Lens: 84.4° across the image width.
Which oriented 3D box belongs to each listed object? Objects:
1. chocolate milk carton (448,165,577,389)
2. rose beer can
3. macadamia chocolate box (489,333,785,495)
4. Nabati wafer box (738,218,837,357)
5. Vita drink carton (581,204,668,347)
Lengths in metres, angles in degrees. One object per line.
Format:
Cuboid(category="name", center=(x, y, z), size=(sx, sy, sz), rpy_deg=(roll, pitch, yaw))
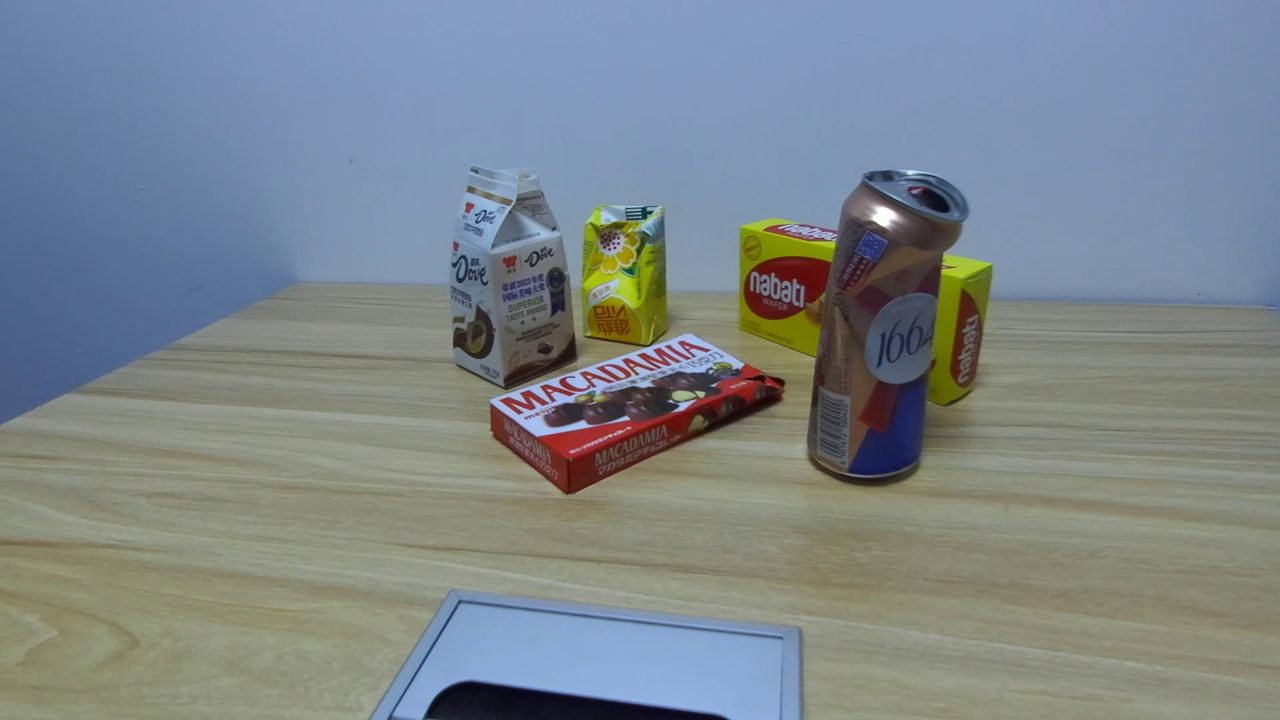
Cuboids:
Cuboid(category="chocolate milk carton", center=(-0.104, -0.069, 0.542), size=(0.073, 0.155, 0.084), rpy_deg=(-24, 33, -38))
Cuboid(category="rose beer can", center=(0.132, -0.015, 0.388), size=(0.070, 0.168, 0.069), rpy_deg=(3, 25, 3))
Cuboid(category="macadamia chocolate box", center=(0.004, 0.026, 0.476), size=(0.187, 0.027, 0.102), rpy_deg=(-20, 32, -33))
Cuboid(category="Nabati wafer box", center=(0.163, -0.046, 0.547), size=(0.042, 0.093, 0.202), rpy_deg=(-19, 28, -32))
Cuboid(category="Vita drink carton", center=(-0.015, -0.073, 0.597), size=(0.071, 0.110, 0.046), rpy_deg=(8, 23, 26))
